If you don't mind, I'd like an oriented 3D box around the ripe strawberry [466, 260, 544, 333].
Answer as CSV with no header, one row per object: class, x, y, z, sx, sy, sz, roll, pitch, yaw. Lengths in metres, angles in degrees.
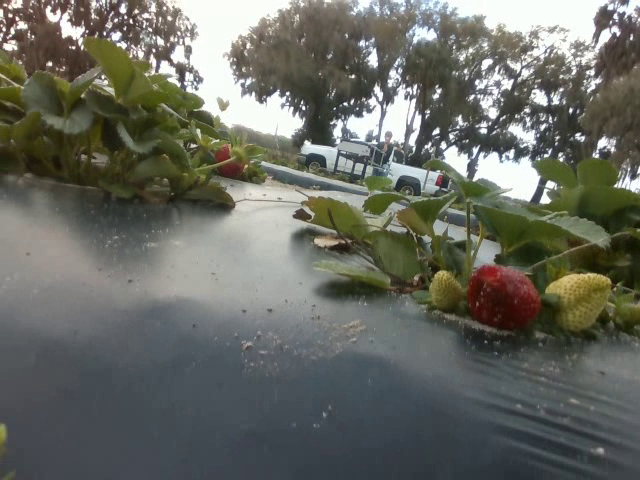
ripe strawberry,0.101,0.030,0.346,0.046,0.046,0.059,8,-21,23
